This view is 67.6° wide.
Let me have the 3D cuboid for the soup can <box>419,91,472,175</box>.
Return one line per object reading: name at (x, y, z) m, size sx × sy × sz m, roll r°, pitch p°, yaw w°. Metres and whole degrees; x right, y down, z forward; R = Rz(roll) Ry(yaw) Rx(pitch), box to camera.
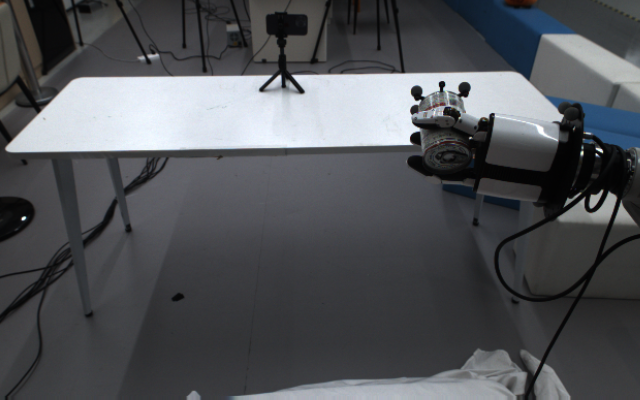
soup can at (0.178, -0.098, 0.691) m, size 0.067 × 0.067 × 0.101 m, roll 3°, pitch 57°, yaw 1°
